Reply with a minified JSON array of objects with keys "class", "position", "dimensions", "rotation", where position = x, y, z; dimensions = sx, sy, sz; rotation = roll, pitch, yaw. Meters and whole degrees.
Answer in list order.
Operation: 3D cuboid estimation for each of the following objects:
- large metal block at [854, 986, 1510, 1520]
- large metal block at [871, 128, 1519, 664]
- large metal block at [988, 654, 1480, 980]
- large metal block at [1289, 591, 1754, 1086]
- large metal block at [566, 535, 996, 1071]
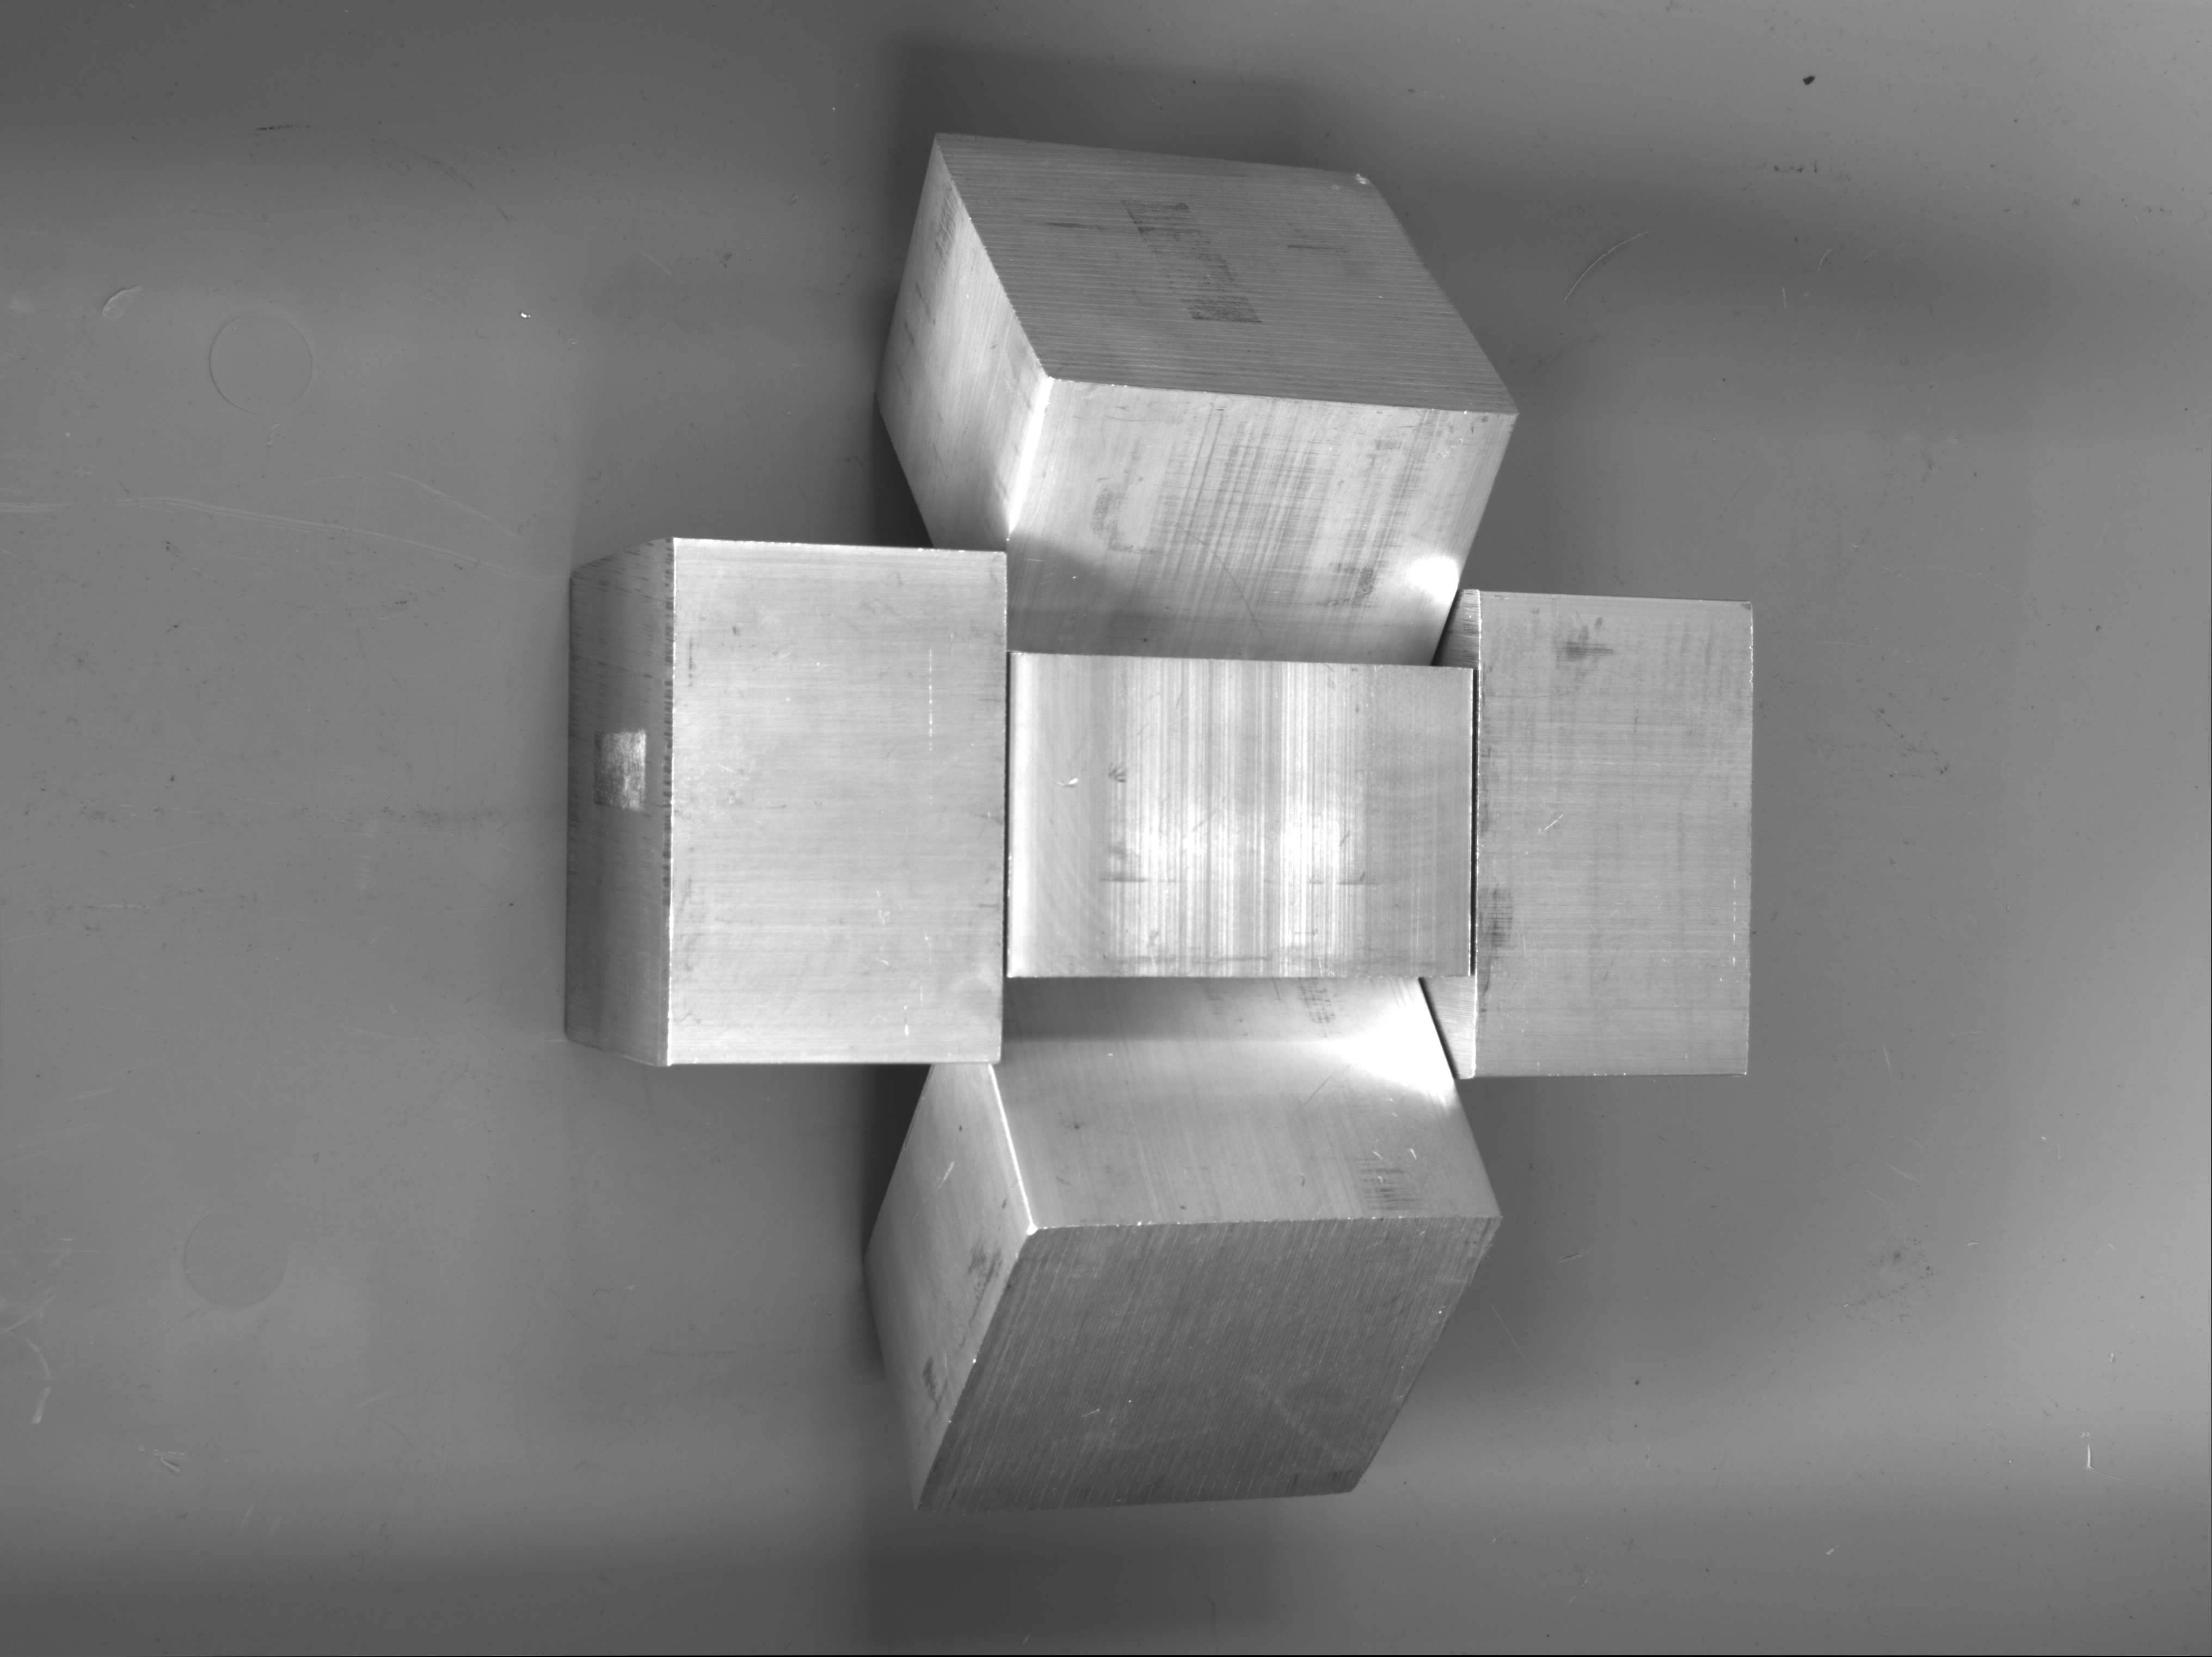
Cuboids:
[{"class":"large metal block","position":[0.010,0.070,0.609],"dimensions":[0.080,0.080,0.050],"rotation":[1,48,-21]},{"class":"large metal block","position":[0.012,-0.072,0.611],"dimensions":[0.080,0.080,0.050],"rotation":[2,127,-20]},{"class":"large metal block","position":[0.009,-0.001,0.616],"dimensions":[0.080,0.080,0.050],"rotation":[1,90,-20]},{"class":"large metal block","position":[0.070,0.002,0.638],"dimensions":[0.050,0.080,0.080],"rotation":[1,90,-20]},{"class":"large metal block","position":[-0.054,-0.003,0.593],"dimensions":[0.050,0.080,0.080],"rotation":[1,90,-20]}]
